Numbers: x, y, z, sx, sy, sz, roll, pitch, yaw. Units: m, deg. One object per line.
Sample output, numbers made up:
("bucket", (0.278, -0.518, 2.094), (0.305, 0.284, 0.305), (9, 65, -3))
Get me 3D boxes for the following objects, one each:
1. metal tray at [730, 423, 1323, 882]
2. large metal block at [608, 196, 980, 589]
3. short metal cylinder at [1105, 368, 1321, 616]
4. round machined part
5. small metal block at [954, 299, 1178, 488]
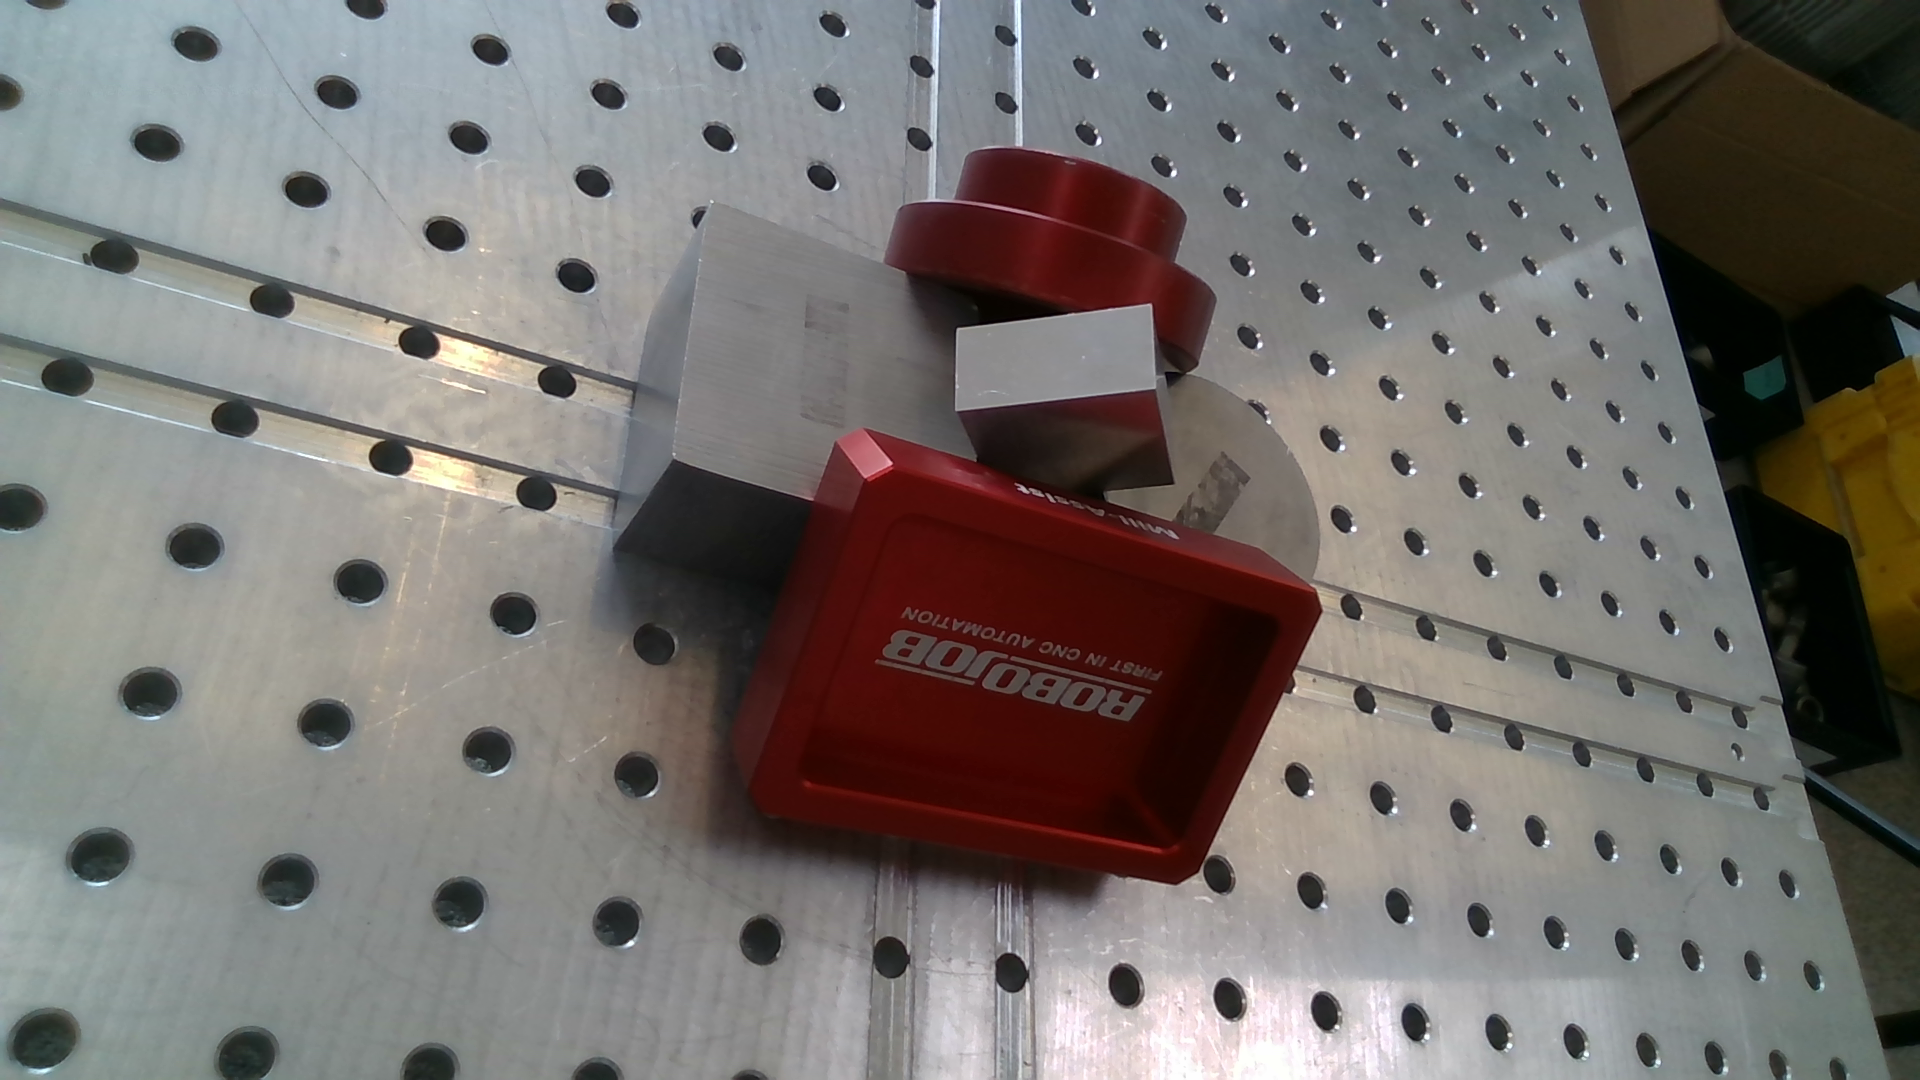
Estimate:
("metal tray", (0.018, 0.033, 0.350), (0.130, 0.090, 0.030), (15, 15, -24))
("large metal block", (-0.043, -0.033, 0.371), (0.080, 0.050, 0.080), (16, 58, -24))
("short metal cylinder", (0.062, -0.005, 0.420), (0.080, 0.050, 0.080), (14, 59, -25))
("round machined part", (0.029, -0.085, 0.407), (0.098, 0.098, 0.042), (16, 91, -24))
("small metal block", (0.029, -0.036, 0.362), (0.050, 0.050, 0.025), (-5, 64, 13))
